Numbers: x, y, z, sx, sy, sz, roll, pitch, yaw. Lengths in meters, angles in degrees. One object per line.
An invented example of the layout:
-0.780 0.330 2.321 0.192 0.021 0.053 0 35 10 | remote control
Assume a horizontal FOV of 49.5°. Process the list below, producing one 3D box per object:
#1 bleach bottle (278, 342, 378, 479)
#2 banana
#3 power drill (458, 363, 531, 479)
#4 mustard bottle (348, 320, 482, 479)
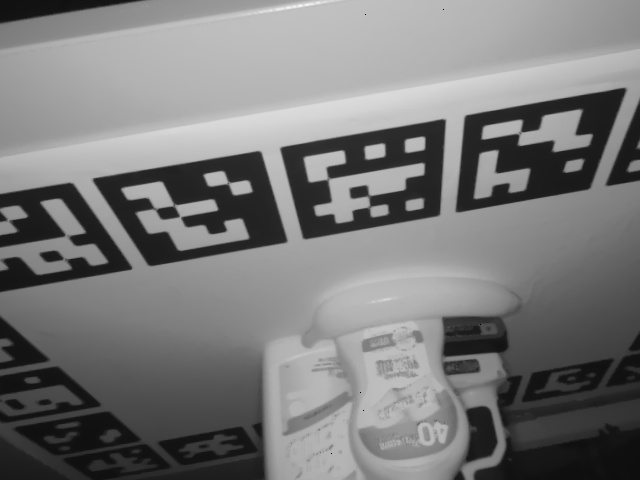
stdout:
0.022 0.217 0.601 0.103 0.252 0.067 -7 145 -2 | bleach bottle
0.089 0.064 0.607 0.198 0.039 0.073 -8 139 -6 | banana
0.132 0.204 0.614 0.186 0.188 0.057 0 140 -8 | power drill
0.082 0.151 0.573 0.096 0.192 0.058 -8 140 1 | mustard bottle
